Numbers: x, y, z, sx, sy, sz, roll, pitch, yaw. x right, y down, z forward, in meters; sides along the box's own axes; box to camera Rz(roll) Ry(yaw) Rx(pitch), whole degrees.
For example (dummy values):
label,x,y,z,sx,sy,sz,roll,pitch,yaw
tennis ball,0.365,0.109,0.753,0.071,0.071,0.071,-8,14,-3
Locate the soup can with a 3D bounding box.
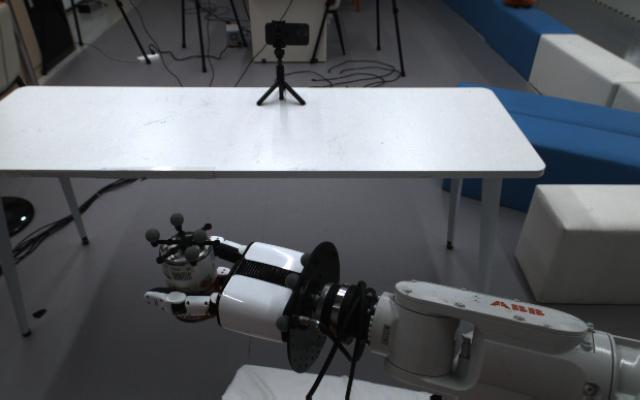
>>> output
label,x,y,z,sx,sy,sz,roll,pitch,yaw
soup can,-0.167,0.103,0.634,0.067,0.101,0.067,-1,32,1
